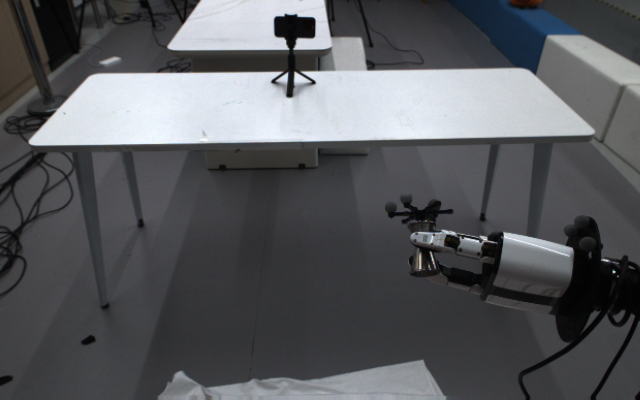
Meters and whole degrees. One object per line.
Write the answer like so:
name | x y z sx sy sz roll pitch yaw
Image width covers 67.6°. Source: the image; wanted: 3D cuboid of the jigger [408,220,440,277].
jigger | 0.139 0.063 0.650 0.043 0.043 0.071 1 70 -2
